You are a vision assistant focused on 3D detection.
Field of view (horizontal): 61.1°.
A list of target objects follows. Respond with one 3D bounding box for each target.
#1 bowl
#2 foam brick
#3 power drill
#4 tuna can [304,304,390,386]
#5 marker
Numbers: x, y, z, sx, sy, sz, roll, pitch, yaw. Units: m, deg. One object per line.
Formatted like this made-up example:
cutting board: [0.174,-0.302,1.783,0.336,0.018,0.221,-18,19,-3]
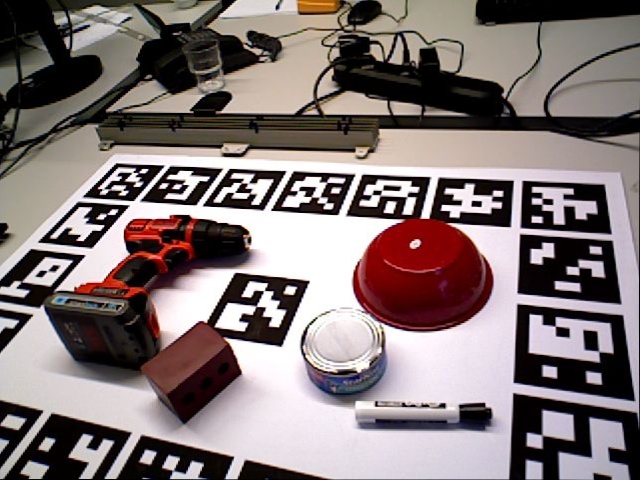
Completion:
bowl: [0.110,0.022,0.615,0.161,0.056,0.159,-9,33,5]
foam brick: [-0.126,0.130,0.545,0.051,0.054,0.076,26,54,33]
power drill: [-0.206,0.045,0.655,0.185,0.058,0.183,6,41,15]
tuna can: [0.028,0.102,0.542,0.085,0.034,0.084,-5,41,4]
marker: [0.096,0.147,0.484,0.121,0.020,0.019,-2,43,11]
